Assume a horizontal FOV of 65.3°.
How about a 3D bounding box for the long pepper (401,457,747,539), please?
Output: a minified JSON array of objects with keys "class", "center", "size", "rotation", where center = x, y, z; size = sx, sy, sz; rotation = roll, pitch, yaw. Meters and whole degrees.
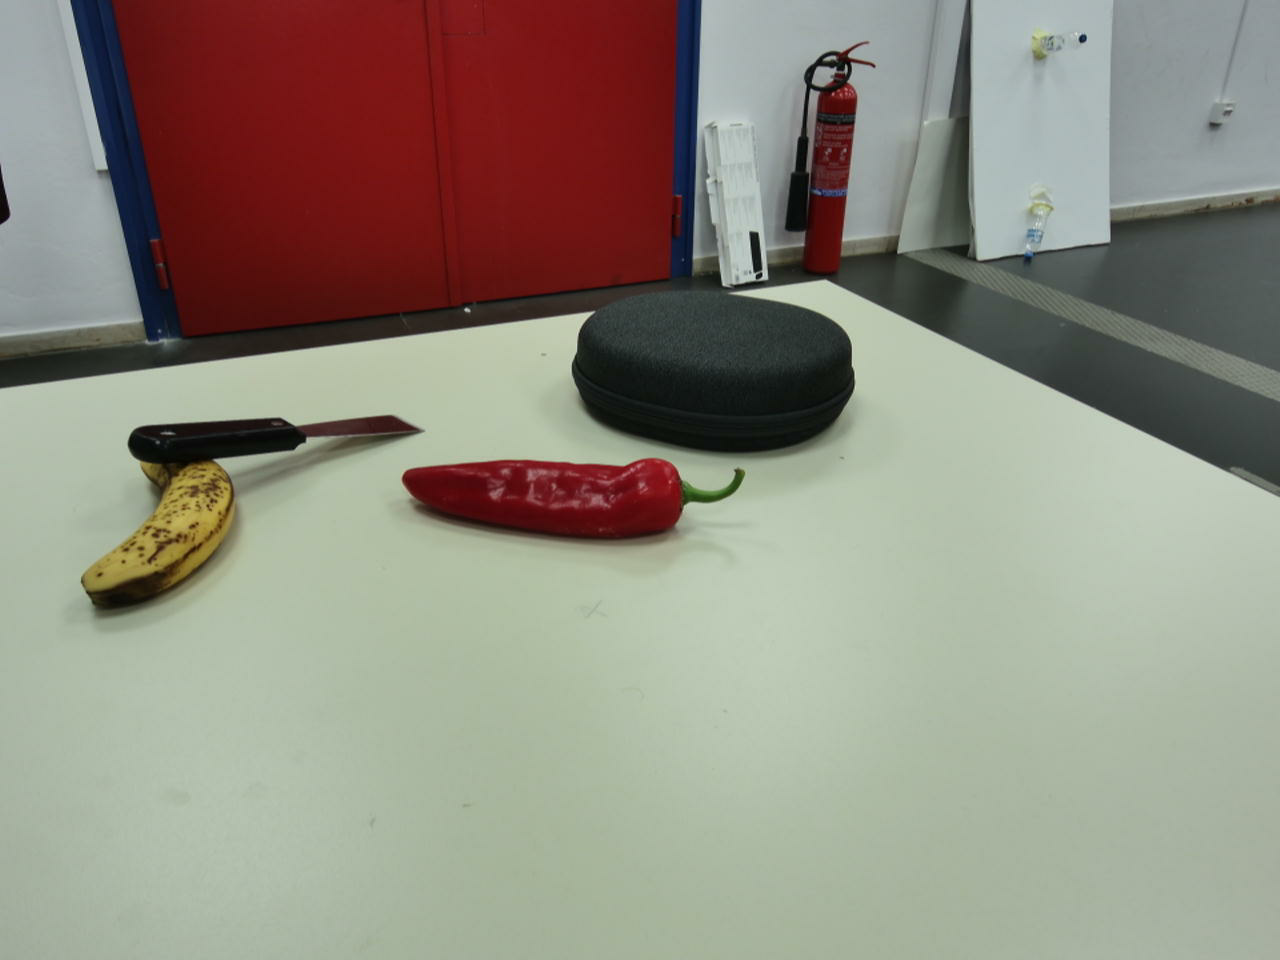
[{"class":"long pepper","center":[-0.044,0.007,0.595],"size":[0.211,0.043,0.050],"rotation":[3,26,7]}]
